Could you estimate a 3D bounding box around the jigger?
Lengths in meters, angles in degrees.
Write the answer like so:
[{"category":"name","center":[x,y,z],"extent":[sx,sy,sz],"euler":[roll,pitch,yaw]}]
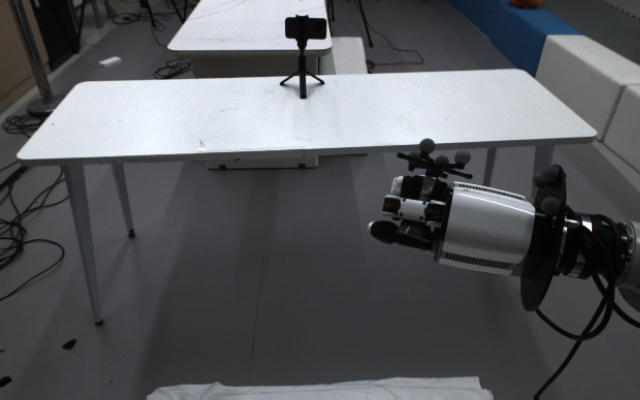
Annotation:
[{"category":"jigger","center":[0.117,0.009,0.549],"extent":[0.043,0.071,0.043],"euler":[19,-6,2]}]
